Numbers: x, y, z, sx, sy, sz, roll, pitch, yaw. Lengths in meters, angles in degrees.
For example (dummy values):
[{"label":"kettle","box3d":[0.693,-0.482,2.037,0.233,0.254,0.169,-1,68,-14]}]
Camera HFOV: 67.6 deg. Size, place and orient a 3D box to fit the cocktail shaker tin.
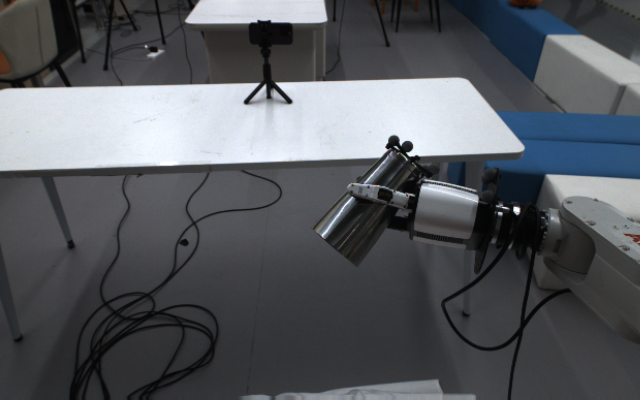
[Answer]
[{"label":"cocktail shaker tin","box3d":[0.077,0.004,0.739,0.170,0.093,0.093,-48,49,-3]}]
